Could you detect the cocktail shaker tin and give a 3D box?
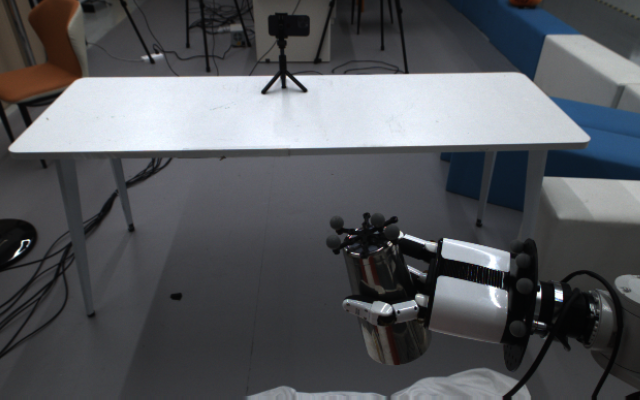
[{"bbox_3d":[0.082,0.118,0.620,0.093,0.170,0.093,-15,28,8],"label":"cocktail shaker tin"}]
